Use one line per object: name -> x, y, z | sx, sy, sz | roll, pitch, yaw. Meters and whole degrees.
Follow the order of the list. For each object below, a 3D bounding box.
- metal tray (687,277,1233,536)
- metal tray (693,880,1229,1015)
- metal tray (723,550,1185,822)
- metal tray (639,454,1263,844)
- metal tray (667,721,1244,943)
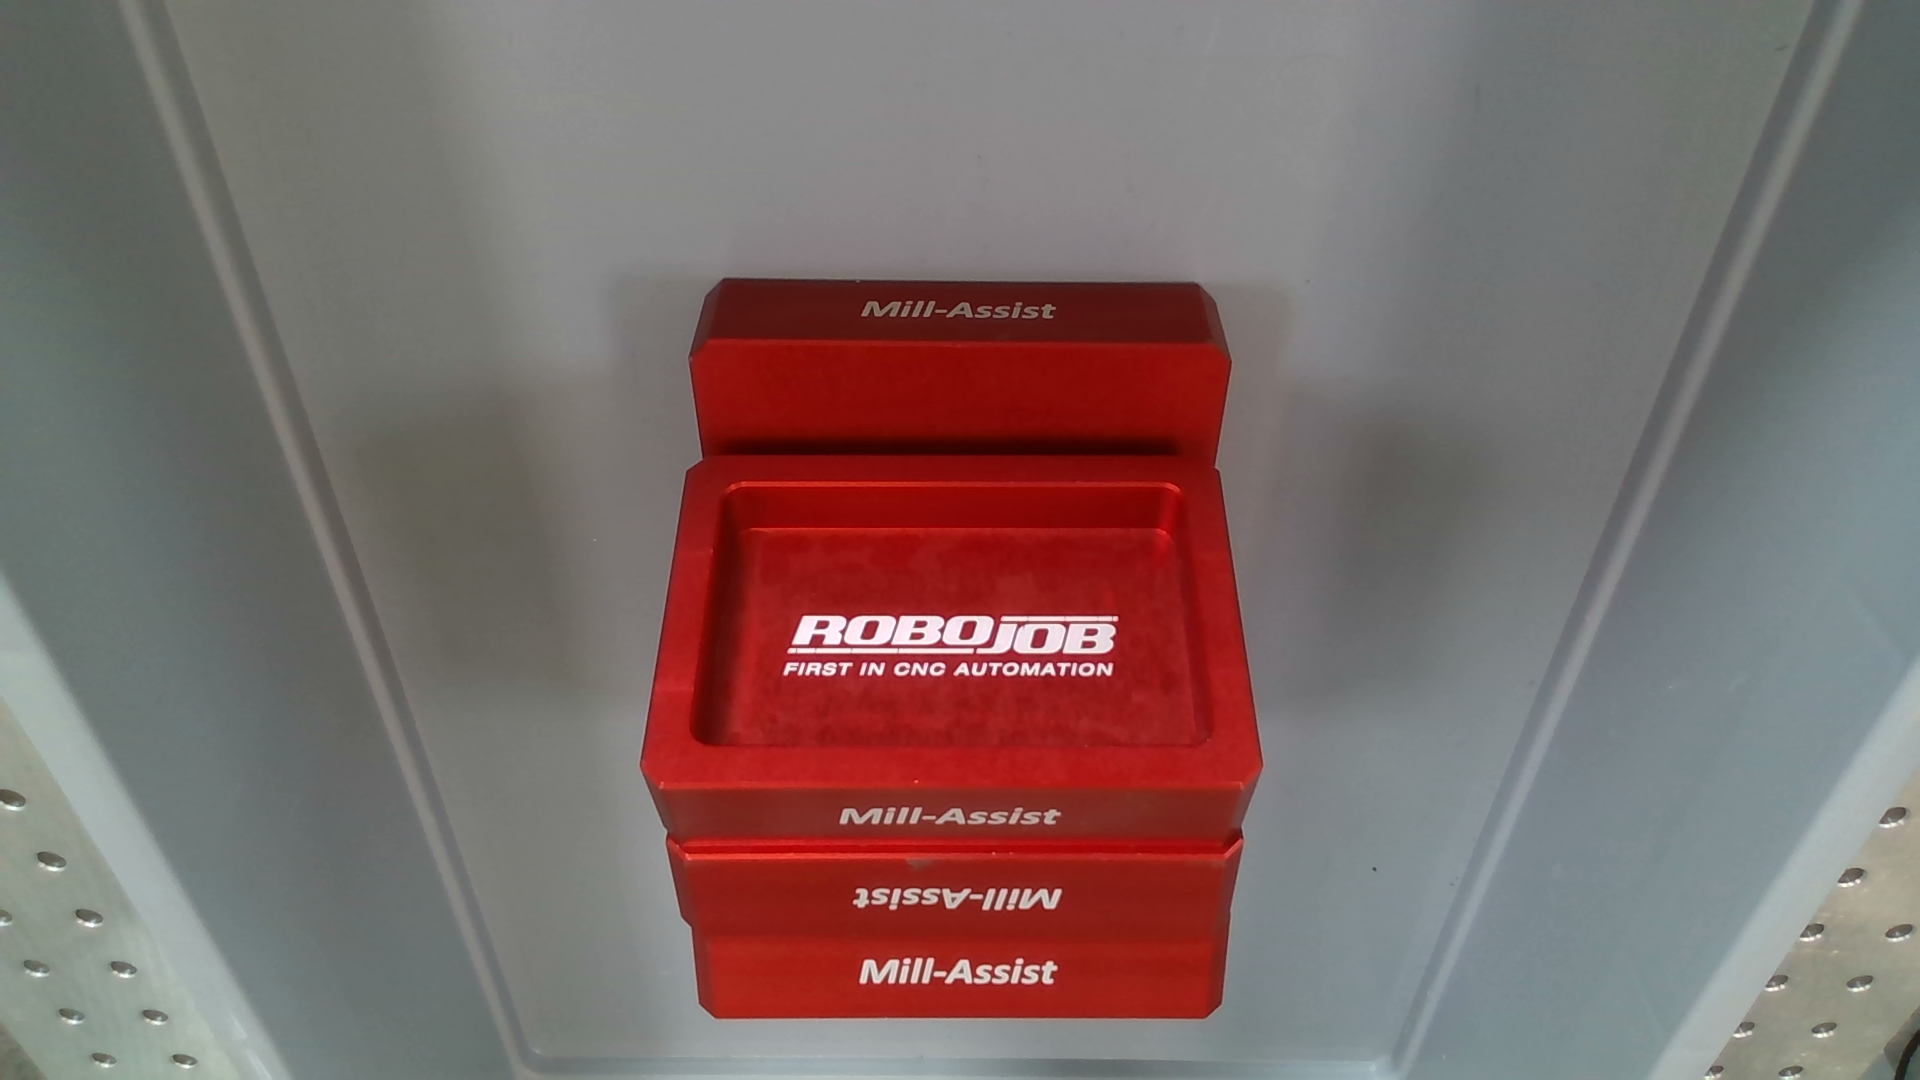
metal tray -> 0.000, -0.022, 0.364 | 0.130, 0.030, 0.090 | 0, 130, 0
metal tray -> 0.000, 0.085, 0.375 | 0.130, 0.090, 0.030 | 0, 116, 0
metal tray -> -0.002, 0.047, 0.424 | 0.130, 0.030, 0.090 | 0, 130, 0
metal tray -> -0.002, 0.023, 0.322 | 0.130, 0.090, 0.030 | 0, 143, 0
metal tray -> -0.002, 0.053, 0.349 | 0.130, 0.090, 0.030 | -1, 130, -1
